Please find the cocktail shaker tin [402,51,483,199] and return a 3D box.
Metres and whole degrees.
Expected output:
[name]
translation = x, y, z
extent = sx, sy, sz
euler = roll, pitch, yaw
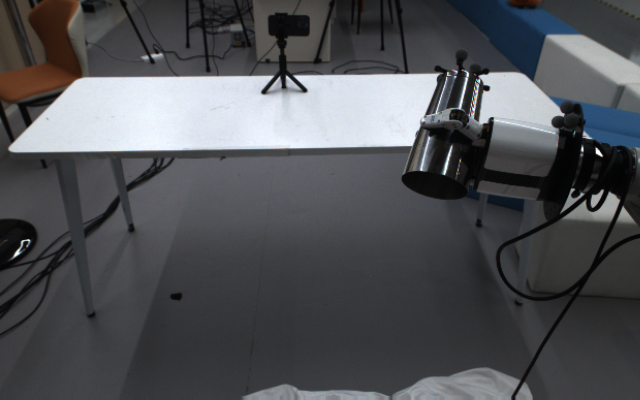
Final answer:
[cocktail shaker tin]
translation = 0.184, -0.096, 0.691
extent = 0.093, 0.093, 0.170
euler = 13, 73, 16
